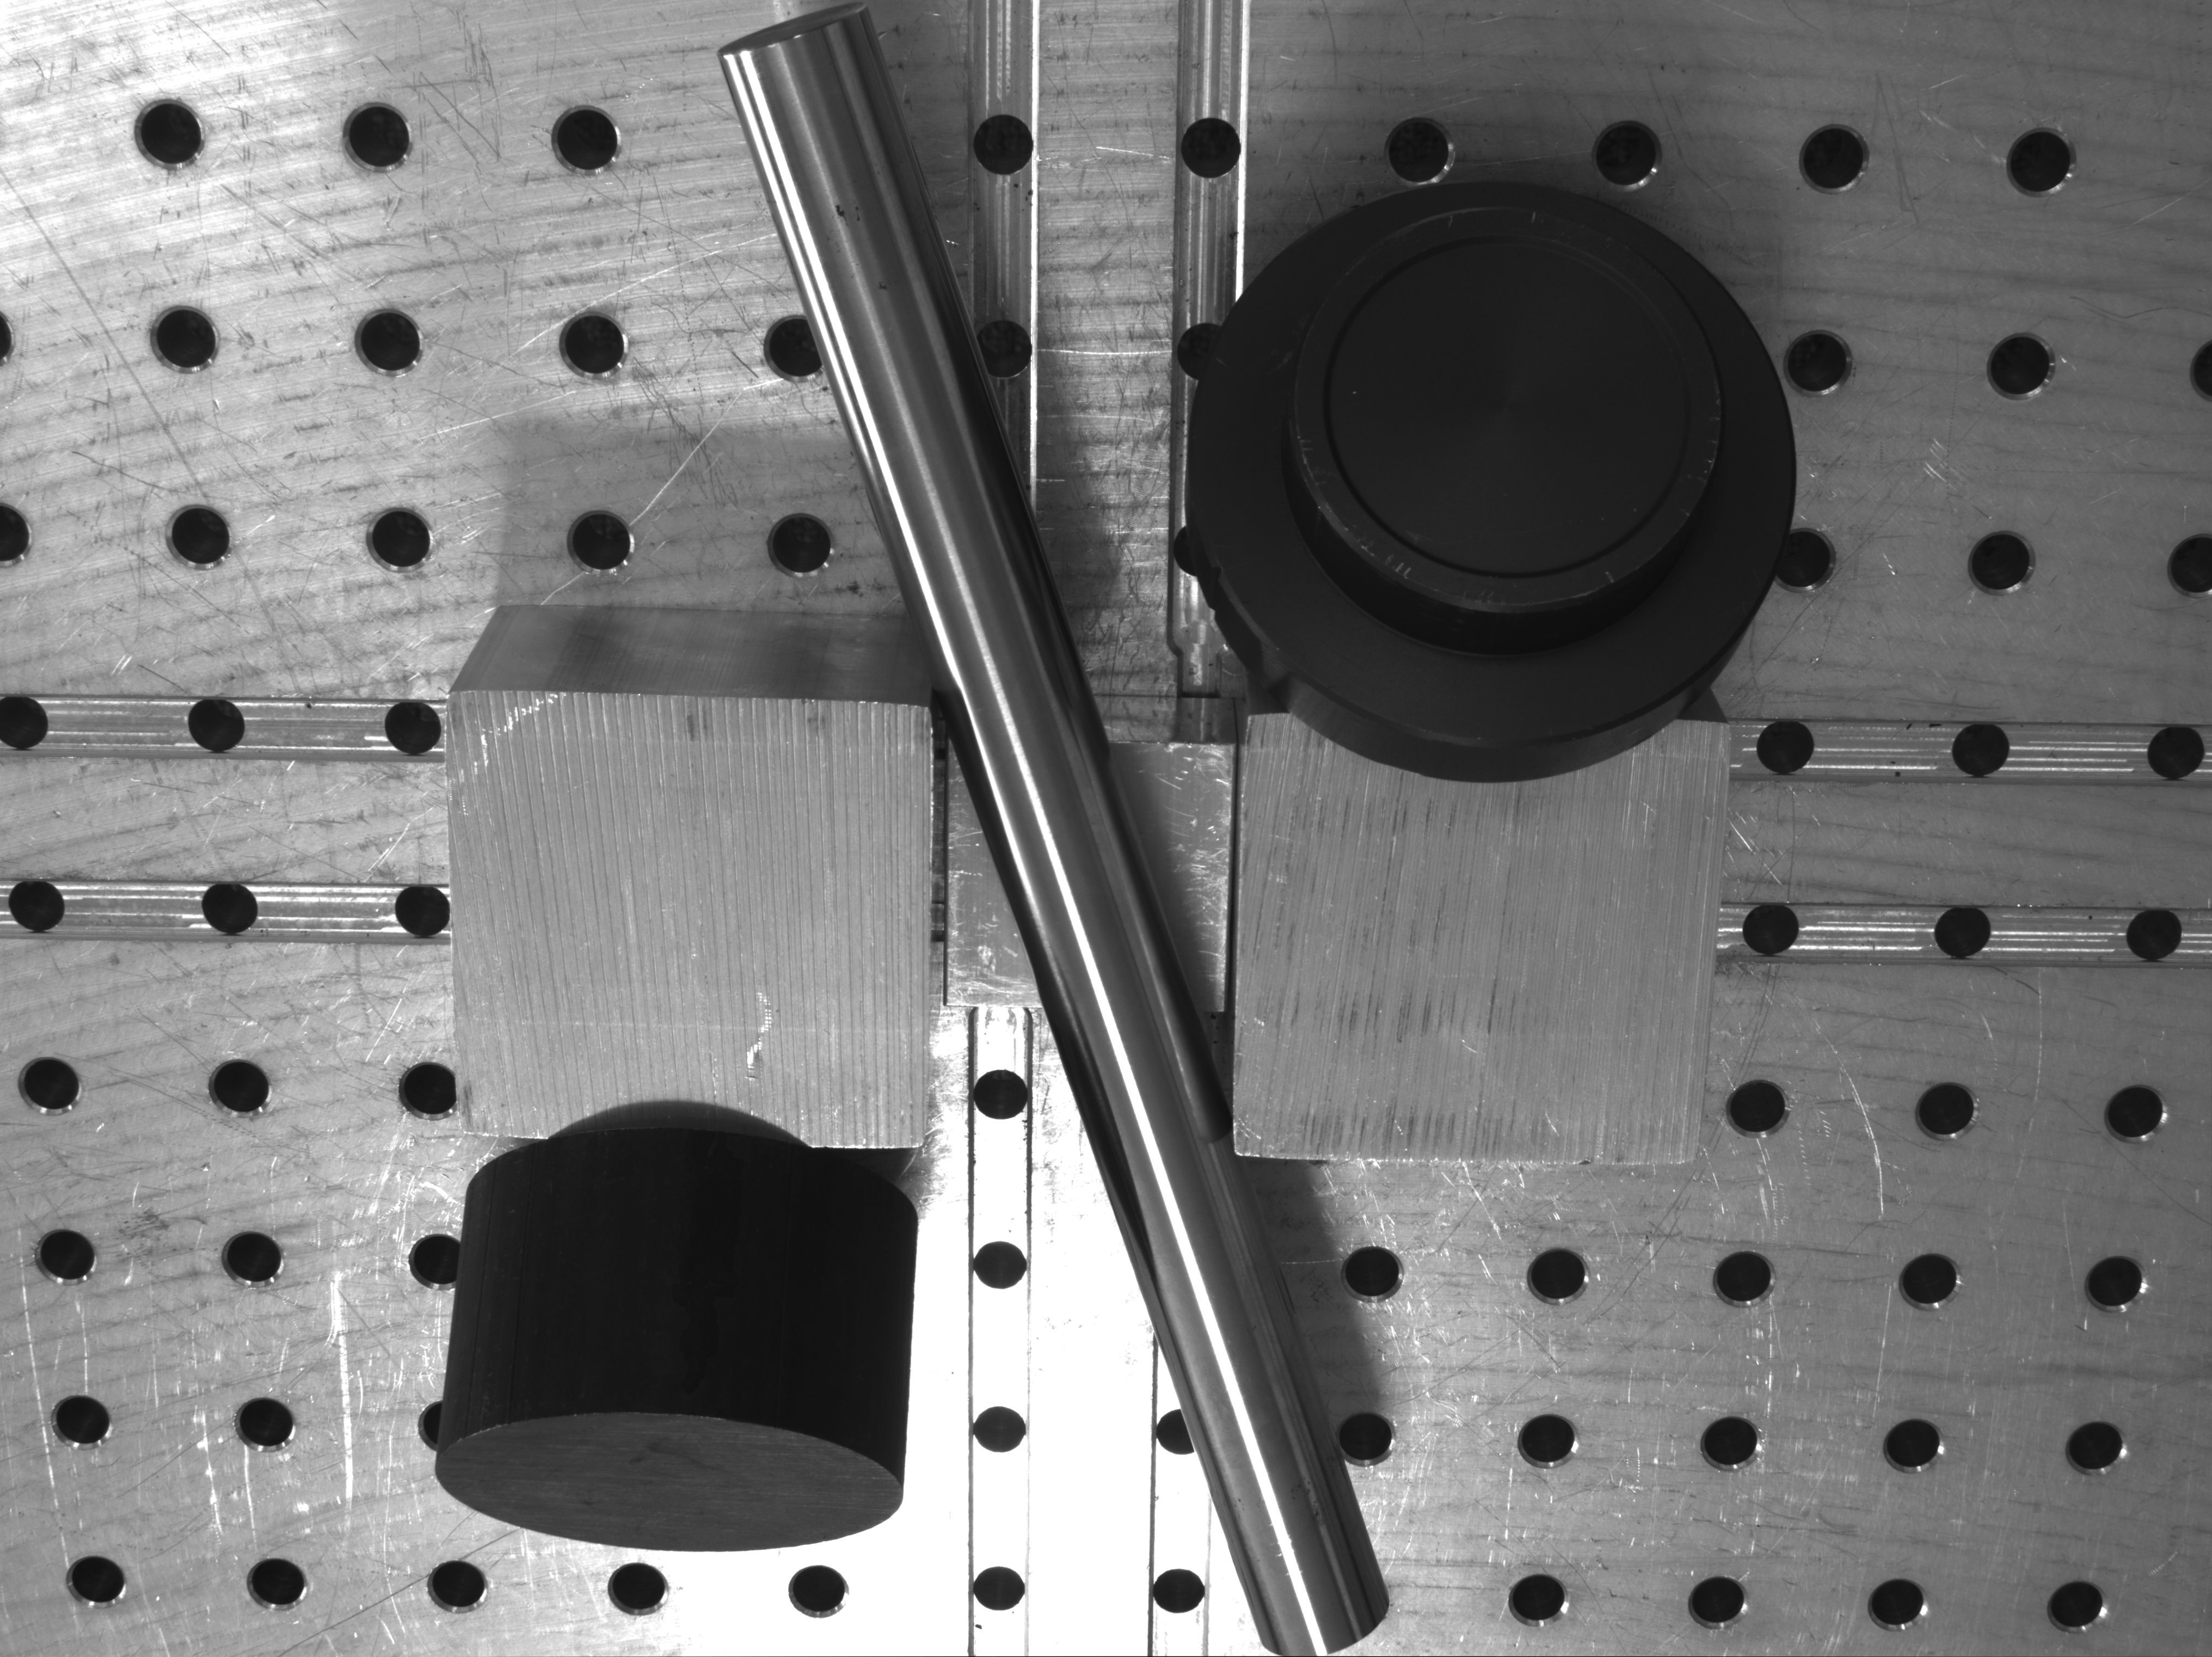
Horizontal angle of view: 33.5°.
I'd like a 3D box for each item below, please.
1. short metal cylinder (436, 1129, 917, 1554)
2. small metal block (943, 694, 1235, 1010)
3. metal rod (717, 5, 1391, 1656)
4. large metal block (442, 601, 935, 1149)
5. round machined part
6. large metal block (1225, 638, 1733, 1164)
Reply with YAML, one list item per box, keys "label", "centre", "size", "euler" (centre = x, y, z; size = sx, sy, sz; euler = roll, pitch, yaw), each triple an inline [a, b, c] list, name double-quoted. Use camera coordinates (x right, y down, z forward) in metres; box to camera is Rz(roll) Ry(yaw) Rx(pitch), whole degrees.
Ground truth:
- label: "short metal cylinder"
  centre: [-0.074, 0.091, 0.644]
  size: [0.080, 0.050, 0.080]
  euler: [1, 153, 1]
- label: "small metal block"
  centre: [-0.003, 0.004, 0.649]
  size: [0.050, 0.025, 0.050]
  euler: [1, 110, 0]
- label: "metal rod"
  centre: [-0.004, 0.010, 0.623]
  size: [0.025, 0.025, 0.300]
  euler: [-16, 109, 6]
- label: "large metal block"
  centre: [-0.069, 0.007, 0.637]
  size: [0.080, 0.050, 0.080]
  euler: [2, 110, -1]
- label: "round machined part"
  centre: [0.062, -0.060, 0.590]
  size: [0.098, 0.042, 0.098]
  euler: [0, 75, 0]
- label: "large metal block"
  centre: [0.062, 0.011, 0.638]
  size: [0.080, 0.050, 0.080]
  euler: [1, 110, 0]
